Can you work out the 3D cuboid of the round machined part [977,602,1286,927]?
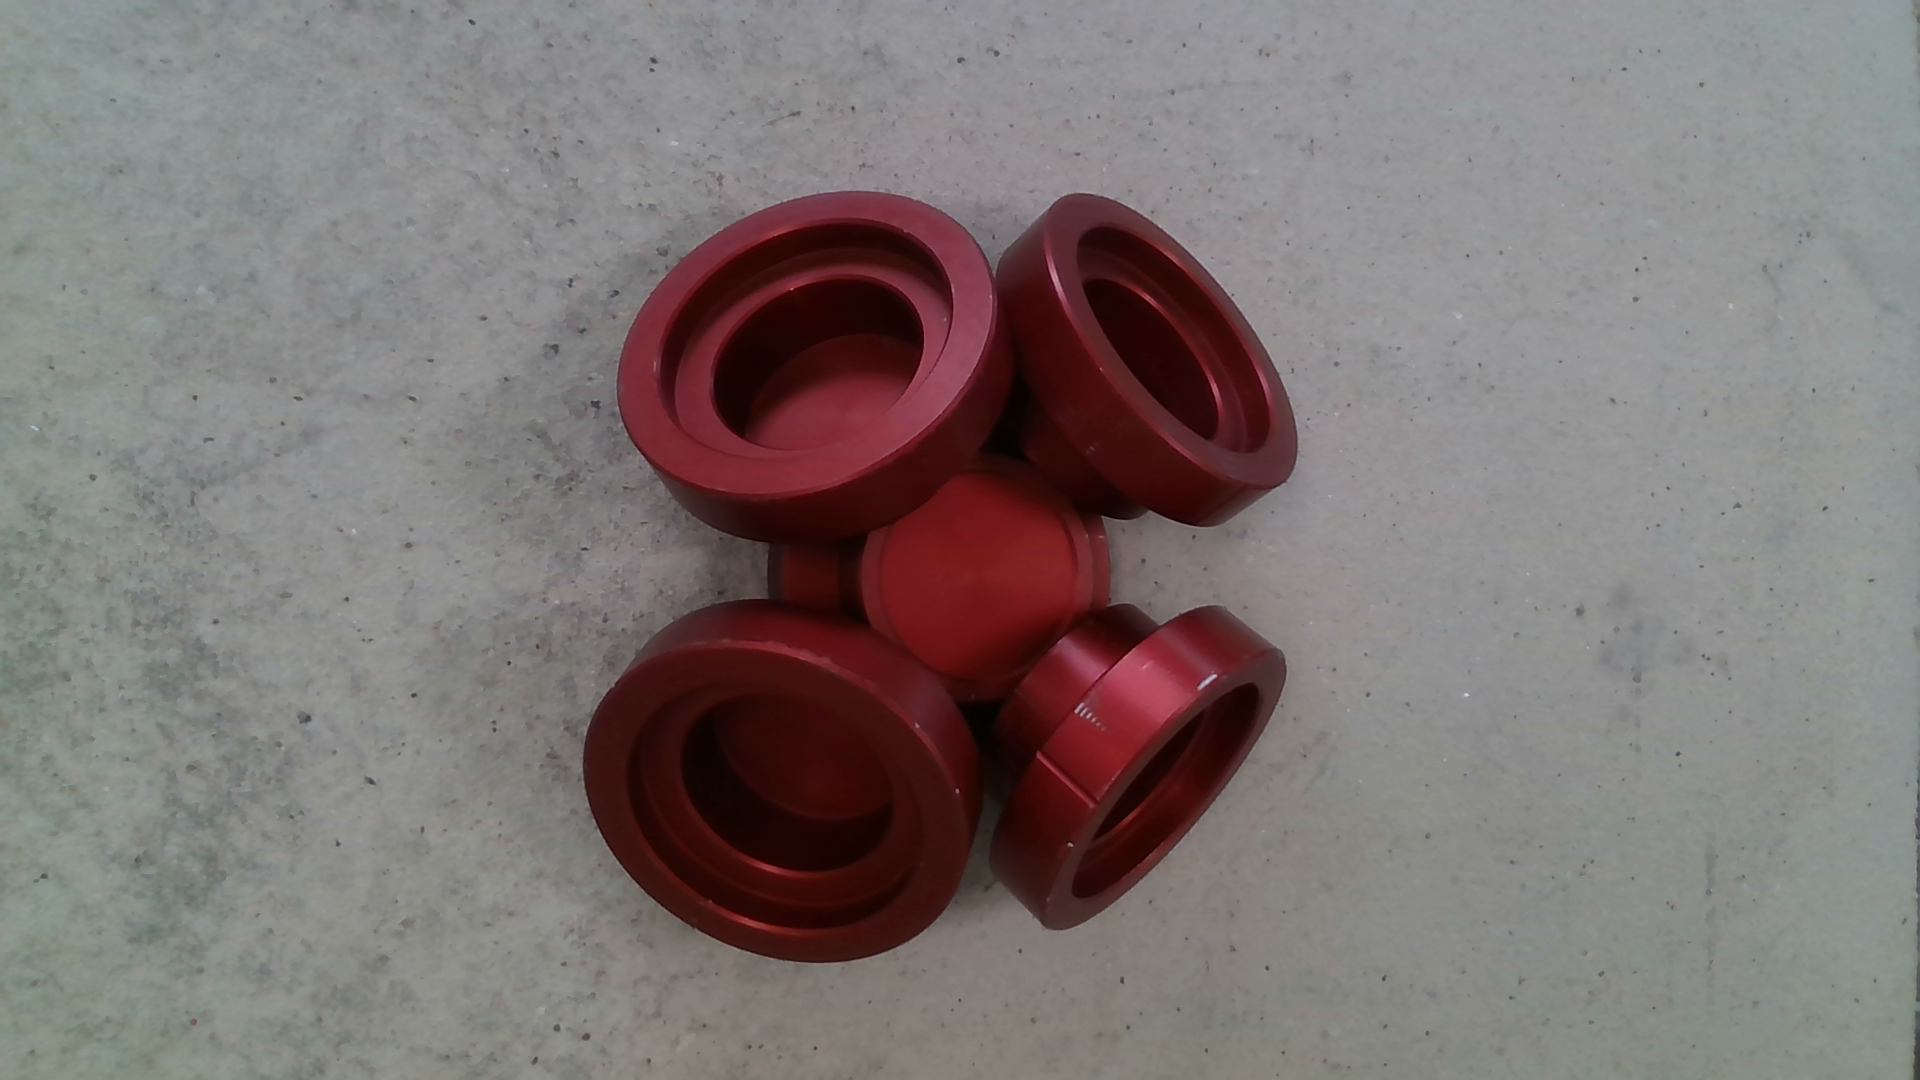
[{"bbox_3d":[0.042,0.056,0.382,0.098,0.098,0.042,-42,63,-15],"label":"round machined part"}]

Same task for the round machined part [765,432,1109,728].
[{"bbox_3d":[-0.001,0.009,0.384,0.098,0.042,0.098,0,91,-22],"label":"round machined part"}]

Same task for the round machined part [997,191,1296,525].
[{"bbox_3d":[0.046,-0.045,0.385,0.098,0.042,0.098,30,40,-29],"label":"round machined part"}]

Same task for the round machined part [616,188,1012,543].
[{"bbox_3d":[-0.034,-0.040,0.354,0.098,0.098,0.042,-45,148,-14],"label":"round machined part"}]

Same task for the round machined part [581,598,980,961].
[{"bbox_3d":[-0.042,0.057,0.353,0.098,0.042,0.098,6,119,11],"label":"round machined part"}]
